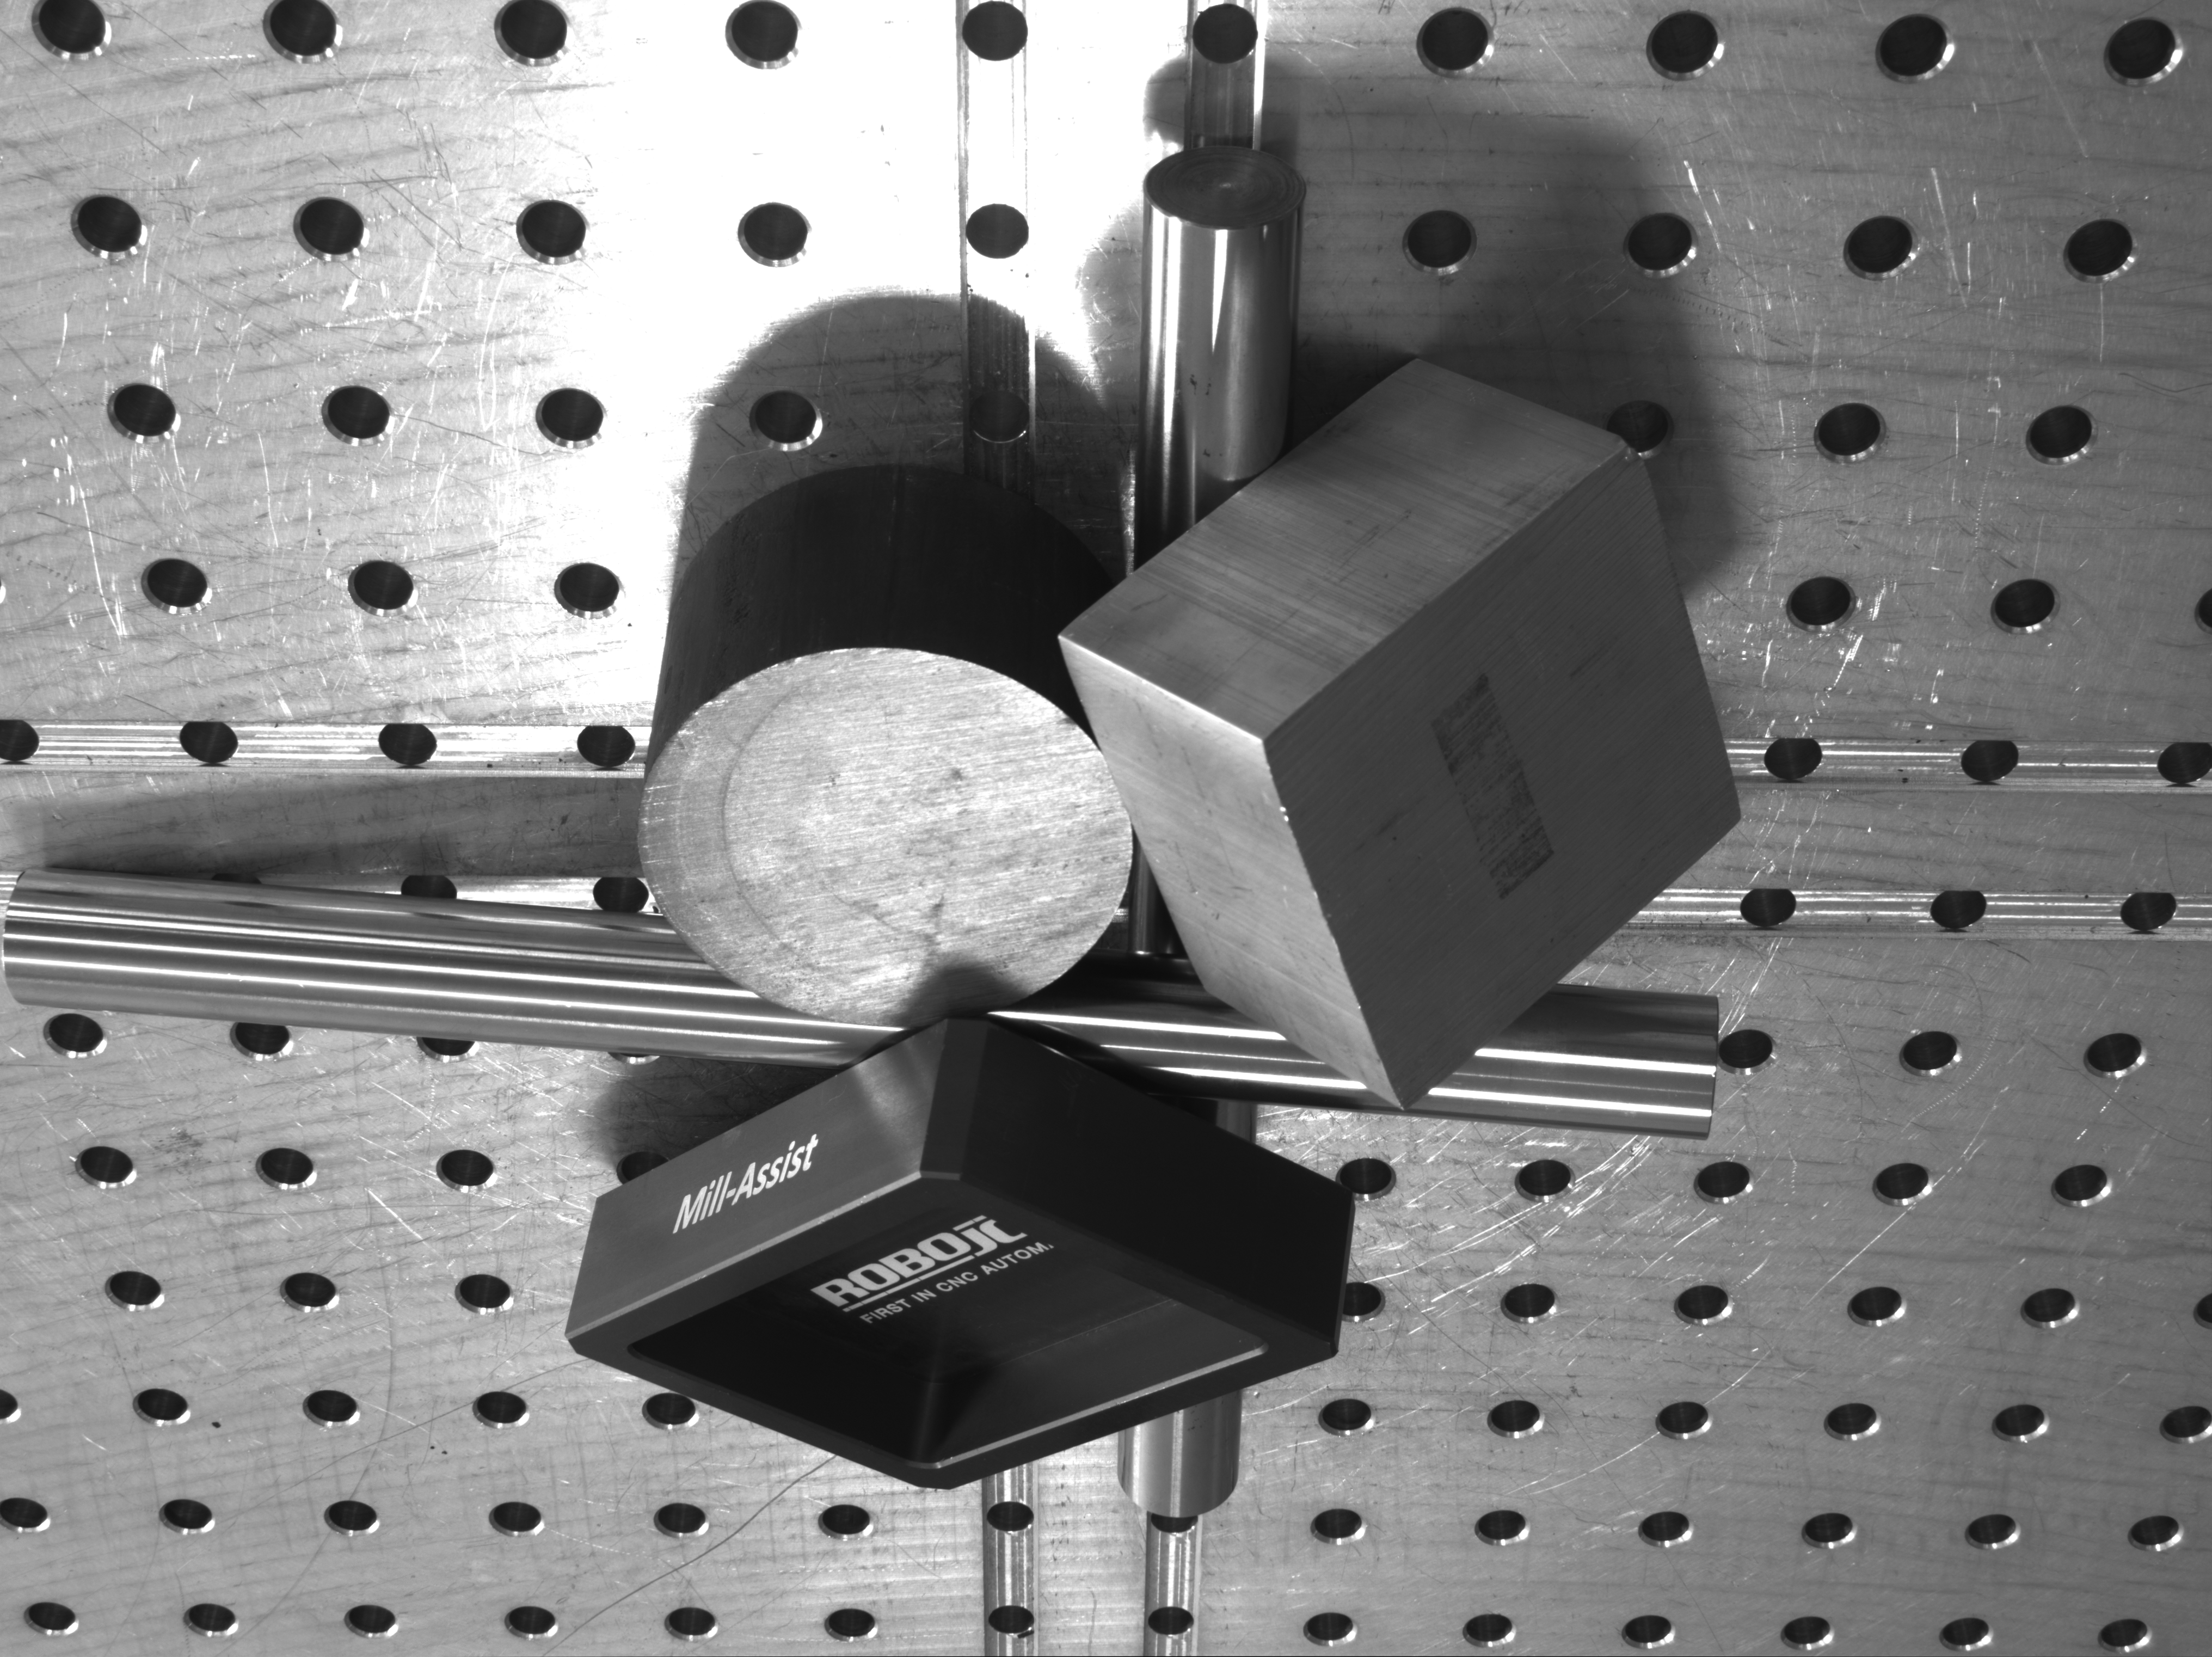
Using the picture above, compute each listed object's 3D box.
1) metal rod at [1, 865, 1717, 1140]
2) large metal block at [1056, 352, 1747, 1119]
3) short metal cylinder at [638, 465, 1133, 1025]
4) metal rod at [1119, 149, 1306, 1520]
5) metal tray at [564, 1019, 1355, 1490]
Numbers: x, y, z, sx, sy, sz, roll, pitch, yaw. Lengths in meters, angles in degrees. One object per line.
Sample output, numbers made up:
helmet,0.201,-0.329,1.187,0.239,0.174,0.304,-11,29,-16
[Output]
metal rod,-0.045,0.030,0.646,0.300,0.025,0.025,4,130,6
large metal block,0.049,-0.016,0.588,0.080,0.050,0.080,-39,131,-20
short metal cylinder,-0.036,-0.013,0.615,0.080,0.050,0.080,0,130,0
metal rod,0.017,0.017,0.657,0.025,0.025,0.300,0,130,0
metal tray,-0.029,0.082,0.674,0.090,0.030,0.130,27,146,-28
